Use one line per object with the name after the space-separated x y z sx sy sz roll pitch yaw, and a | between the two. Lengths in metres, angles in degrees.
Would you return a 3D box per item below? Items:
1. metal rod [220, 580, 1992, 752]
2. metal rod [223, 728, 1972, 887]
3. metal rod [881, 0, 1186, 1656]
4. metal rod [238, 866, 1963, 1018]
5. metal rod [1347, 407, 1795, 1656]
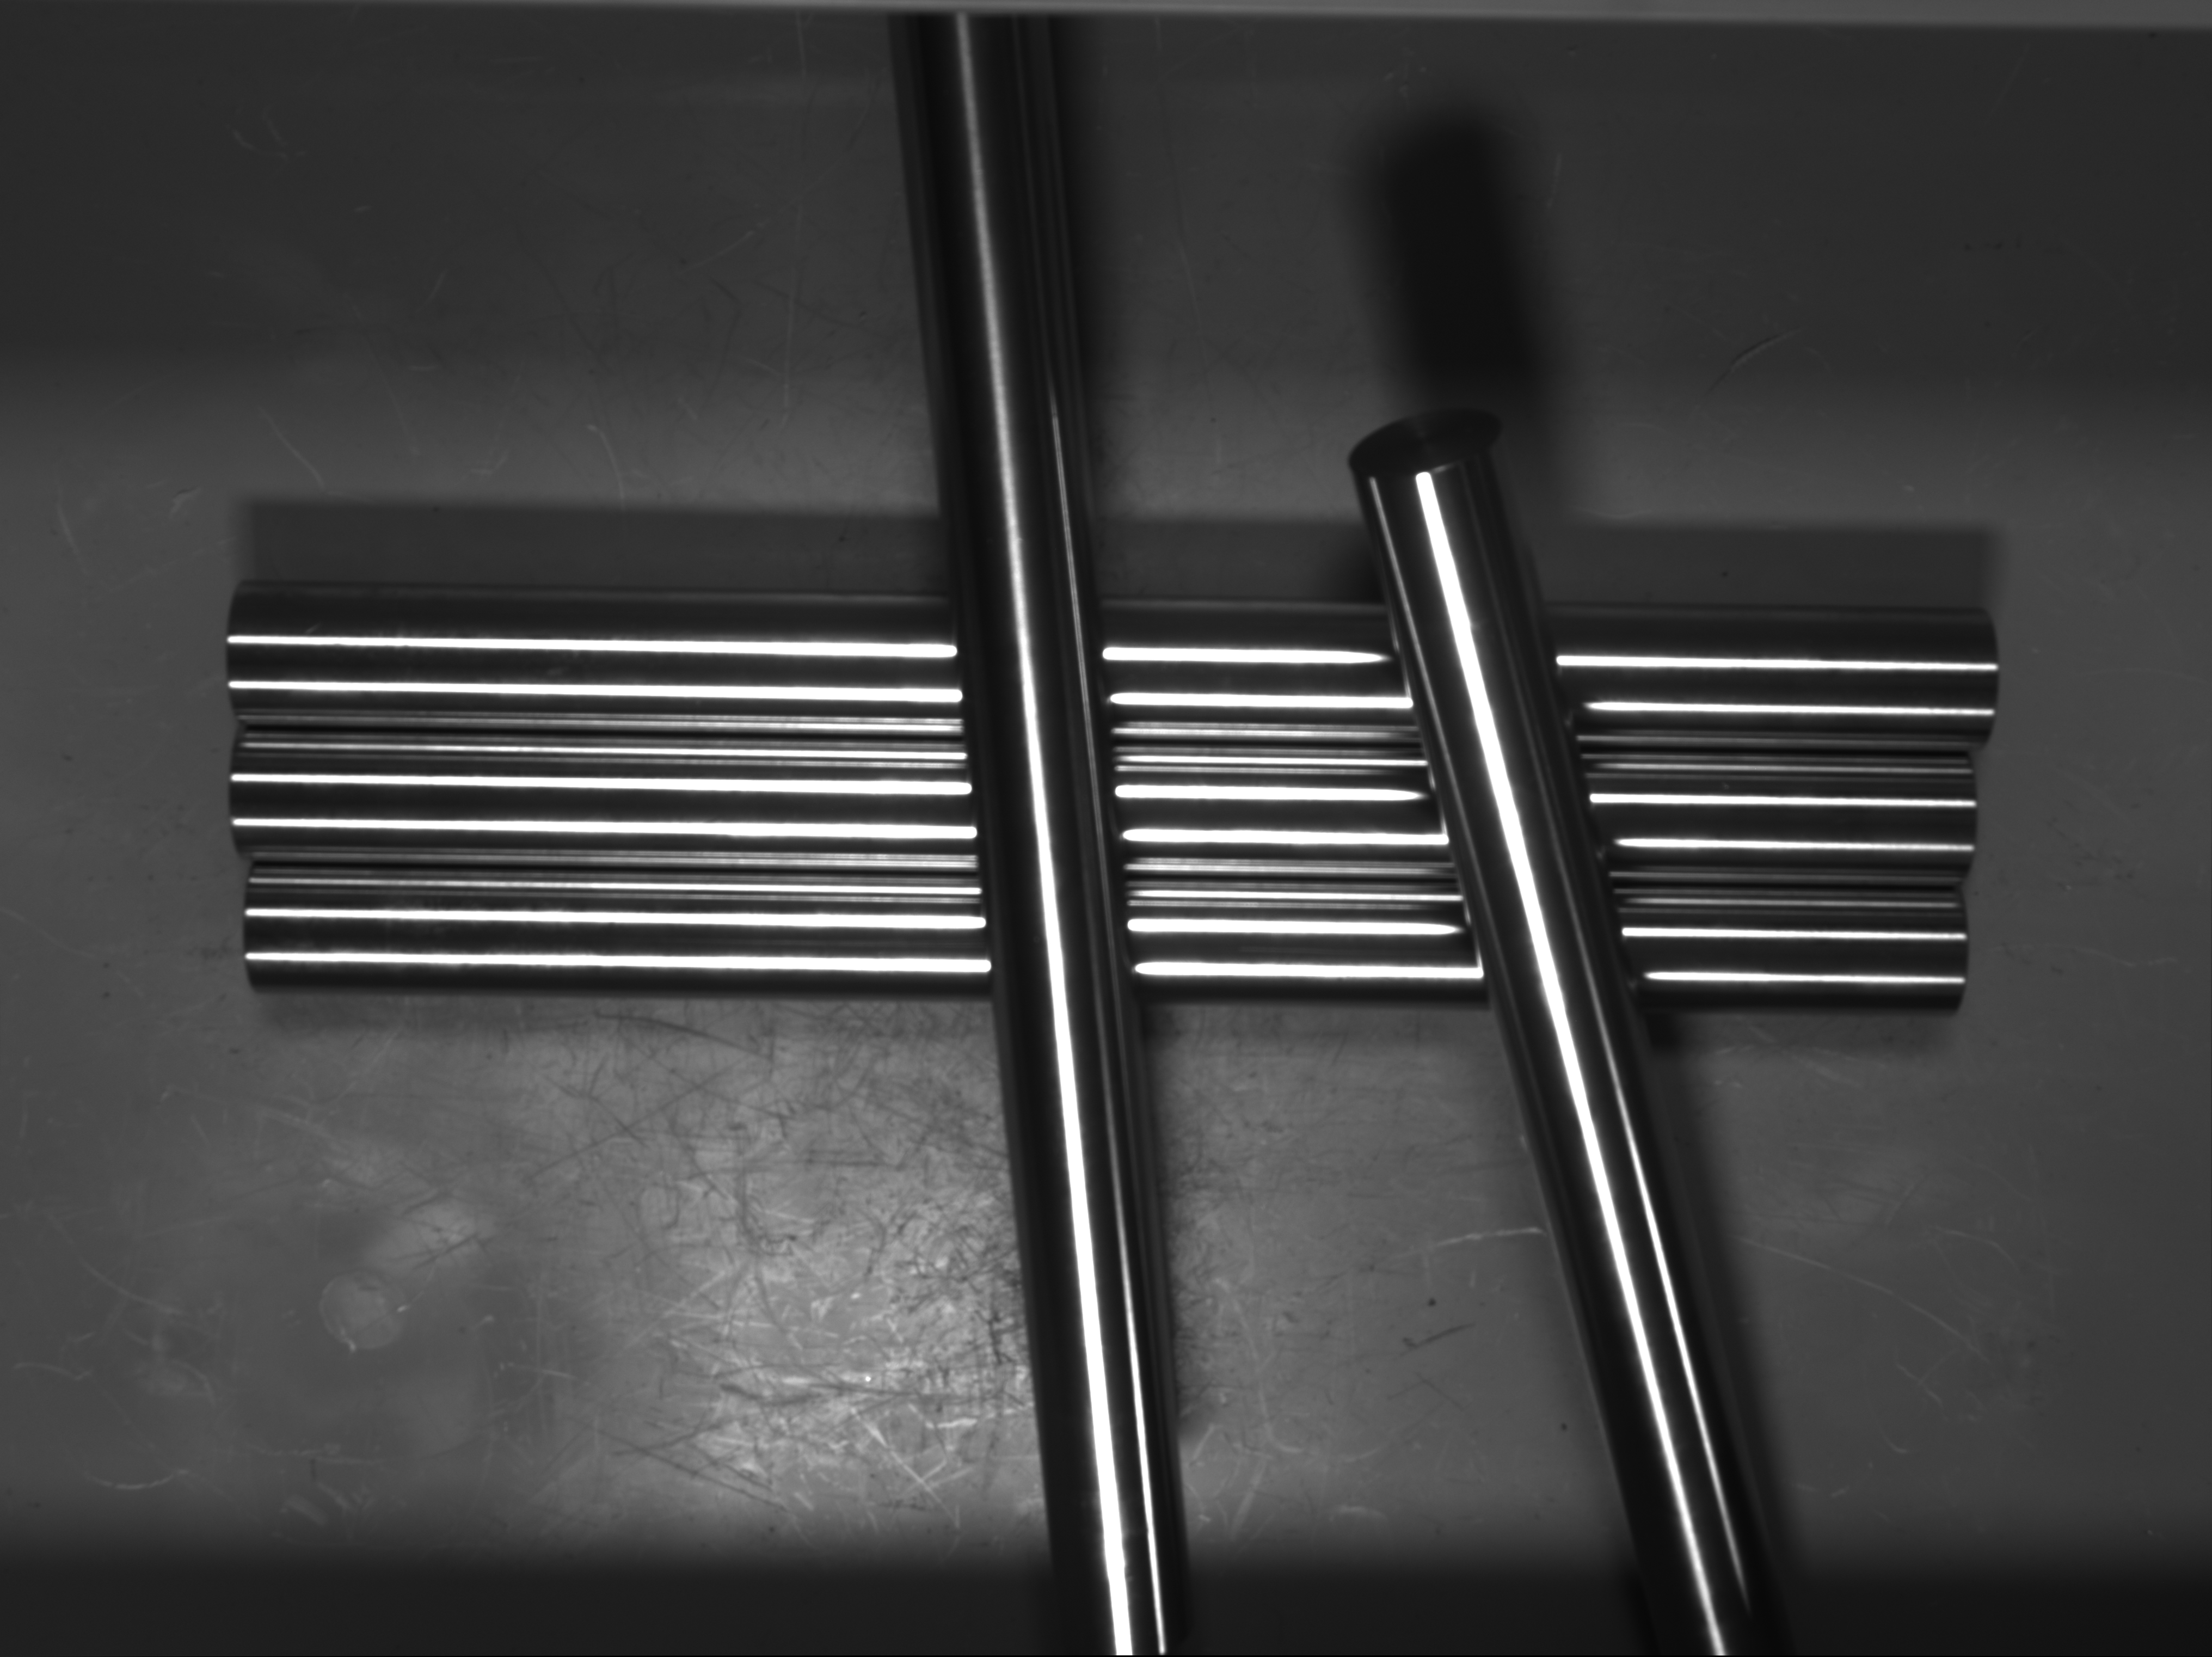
0.001 -0.028 0.632 0.300 0.025 0.025 1 110 -1 | metal rod
-0.001 -0.005 0.641 0.300 0.025 0.025 1 110 -1 | metal rod
-0.010 0.005 0.617 0.025 0.025 0.300 -5 110 1 | metal rod
0.000 0.019 0.649 0.300 0.025 0.025 1 110 -1 | metal rod
0.090 0.067 0.646 0.025 0.025 0.300 -15 116 5 | metal rod
